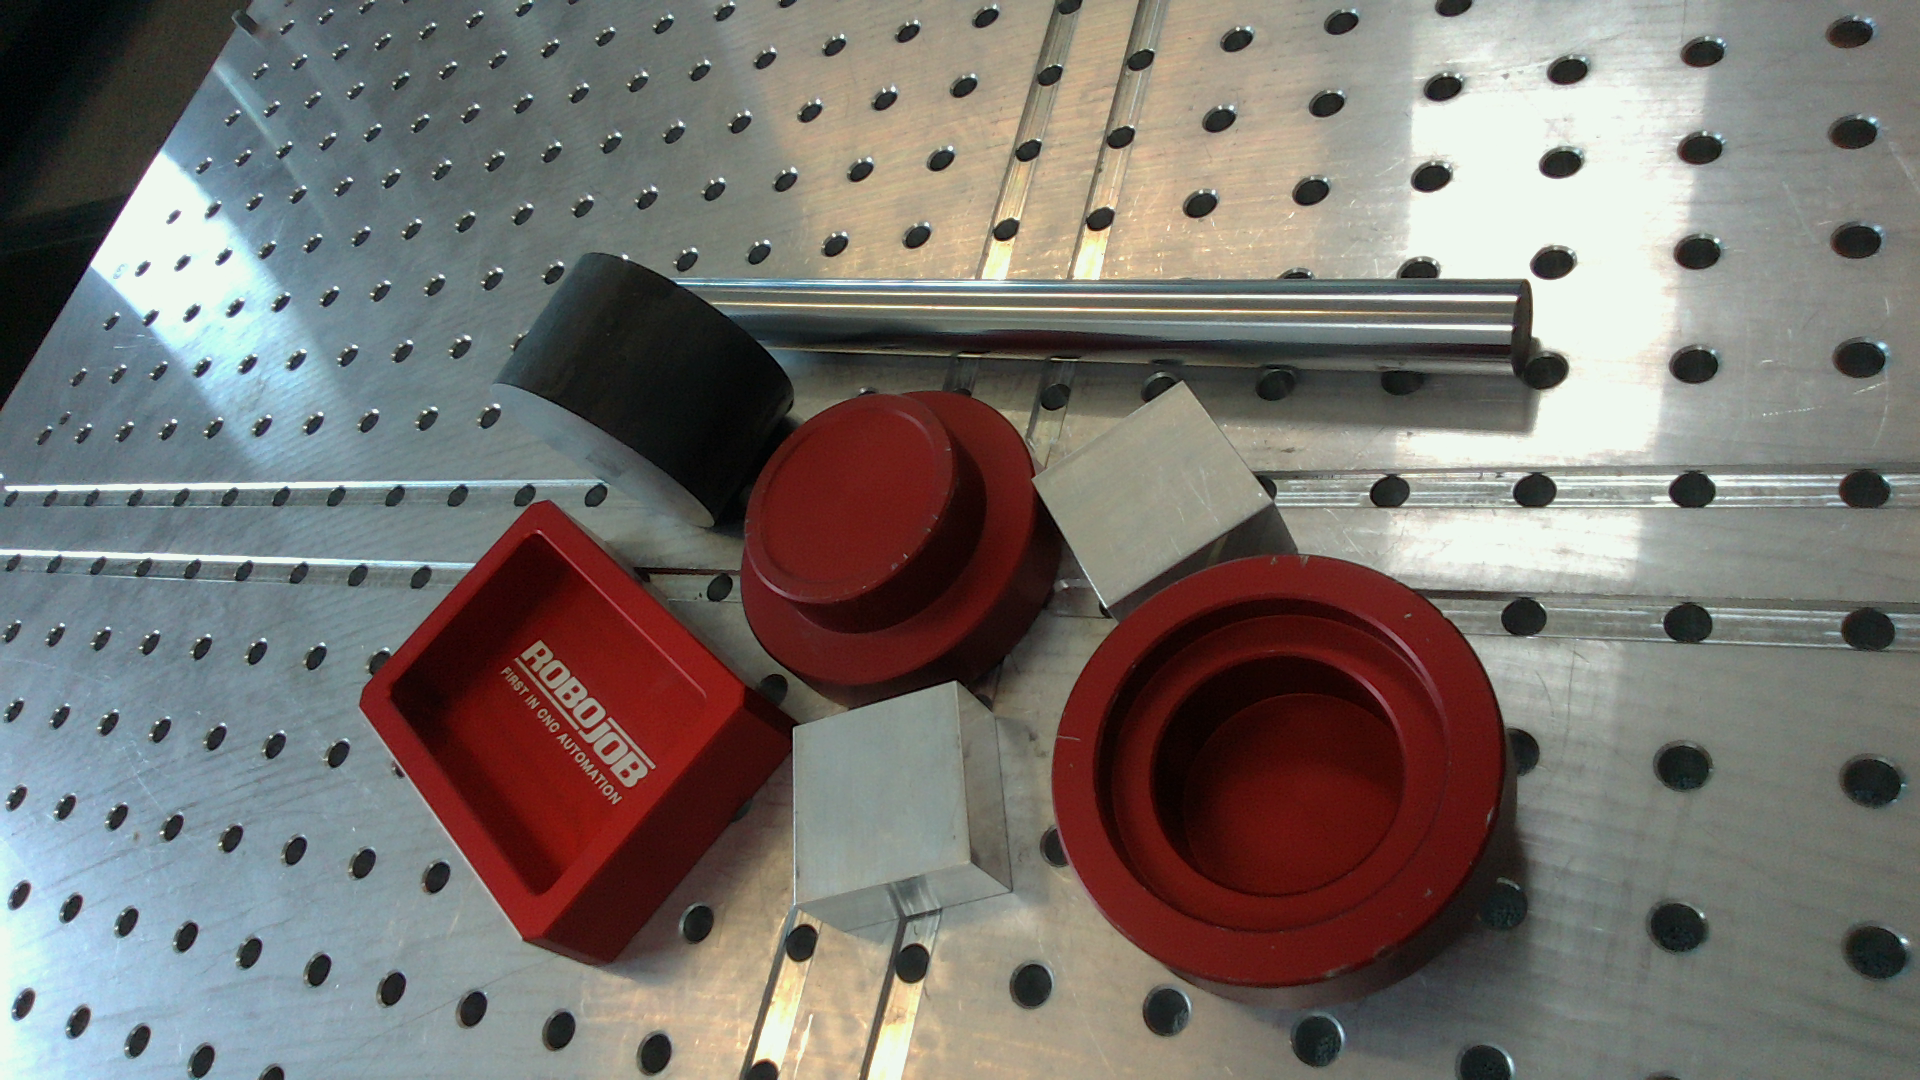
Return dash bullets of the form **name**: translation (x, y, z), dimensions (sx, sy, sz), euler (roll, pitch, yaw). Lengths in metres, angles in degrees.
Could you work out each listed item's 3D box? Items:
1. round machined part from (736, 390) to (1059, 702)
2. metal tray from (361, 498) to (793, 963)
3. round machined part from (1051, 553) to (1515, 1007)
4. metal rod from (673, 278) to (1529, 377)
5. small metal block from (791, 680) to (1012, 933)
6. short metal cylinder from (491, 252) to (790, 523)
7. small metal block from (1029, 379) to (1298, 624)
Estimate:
- **round machined part**: translation (-0.024, -0.004, 0.401), dimensions (0.098, 0.042, 0.098), euler (-14, 53, 20)
- **metal tray**: translation (-0.122, 0.054, 0.426), dimensions (0.090, 0.030, 0.130), euler (-50, 51, -6)
- **round machined part**: translation (0.074, 0.055, 0.312), dimensions (0.098, 0.042, 0.098), euler (-13, 56, 21)
- **metal rod**: translation (0.016, -0.069, 0.430), dimensions (0.299, 0.025, 0.025), euler (7, 65, 31)
- **small metal block**: translation (-0.016, 0.071, 0.362), dimensions (0.050, 0.025, 0.050), euler (-18, 54, 18)
- **short metal cylinder**: translation (-0.102, -0.047, 0.445), dimensions (0.080, 0.080, 0.050), euler (19, 72, 36)
- **small metal block**: translation (0.054, -0.007, 0.372), dimensions (0.050, 0.025, 0.050), euler (-33, 51, 7)
